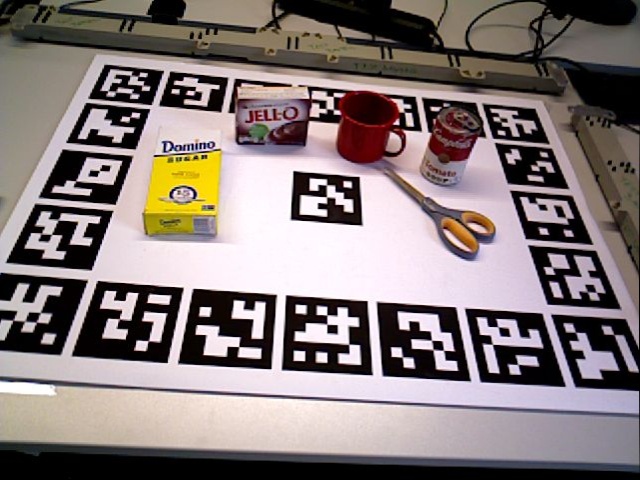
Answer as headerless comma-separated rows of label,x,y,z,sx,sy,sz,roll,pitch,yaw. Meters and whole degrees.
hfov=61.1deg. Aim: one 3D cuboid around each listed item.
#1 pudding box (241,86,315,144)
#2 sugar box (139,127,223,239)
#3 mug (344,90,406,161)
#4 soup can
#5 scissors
pudding box,-0.060,-0.187,0.808,0.113,0.092,0.038,-2,58,-10
sugar box,-0.185,-0.082,0.748,0.092,0.046,0.173,2,54,-4
mug,0.087,-0.169,0.822,0.091,0.083,0.117,-27,58,-23
soup can,0.200,-0.129,0.802,0.067,0.104,0.067,3,50,-5
scissors,0.171,-0.035,0.769,0.086,0.016,0.202,-36,65,-19
